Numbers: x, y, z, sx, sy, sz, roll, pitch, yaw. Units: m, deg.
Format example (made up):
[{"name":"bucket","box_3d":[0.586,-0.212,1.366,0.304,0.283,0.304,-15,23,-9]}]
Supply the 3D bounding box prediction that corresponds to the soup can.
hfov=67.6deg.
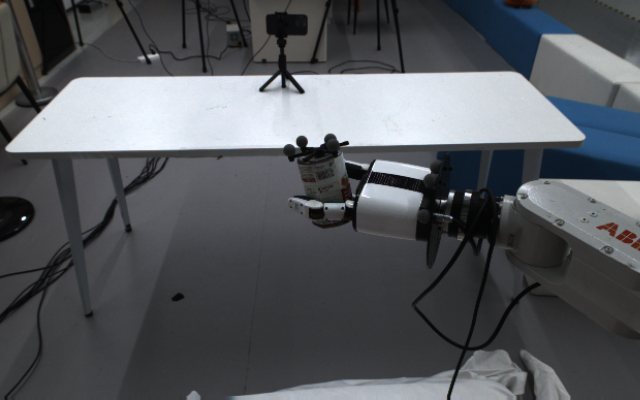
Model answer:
[{"name":"soup can","box_3d":[0.012,-0.019,0.699,0.067,0.101,0.067,-13,20,5]}]
